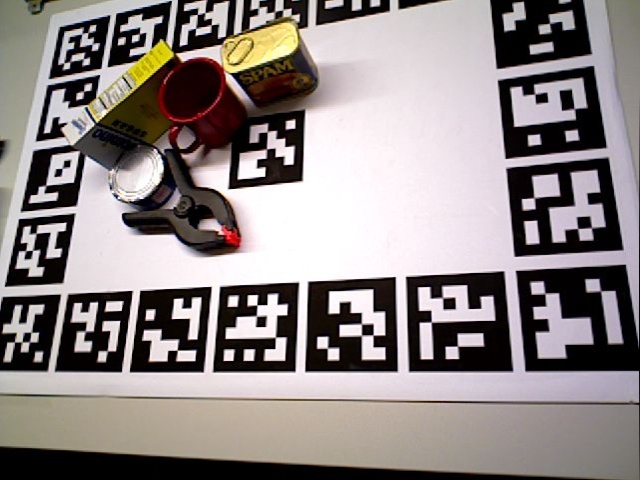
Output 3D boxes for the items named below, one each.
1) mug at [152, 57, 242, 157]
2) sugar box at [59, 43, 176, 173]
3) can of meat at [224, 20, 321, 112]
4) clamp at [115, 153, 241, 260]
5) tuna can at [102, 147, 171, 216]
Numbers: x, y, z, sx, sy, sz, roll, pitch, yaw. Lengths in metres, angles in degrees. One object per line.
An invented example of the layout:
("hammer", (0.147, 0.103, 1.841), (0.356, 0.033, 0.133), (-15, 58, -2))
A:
("mug", (-0.154, -0.159, 0.681), (0.093, 0.081, 0.117), (23, 83, 22))
("sugar box", (-0.242, -0.166, 0.716), (0.176, 0.093, 0.045), (-39, 64, 2))
("can of meat", (-0.055, -0.211, 0.673), (0.102, 0.084, 0.057), (-12, 68, 13))
("clamp", (-0.166, -0.026, 0.680), (0.165, 0.037, 0.121), (33, 82, 20))
("tuna can", (-0.241, -0.076, 0.713), (0.086, 0.034, 0.085), (-5, 74, 17))
